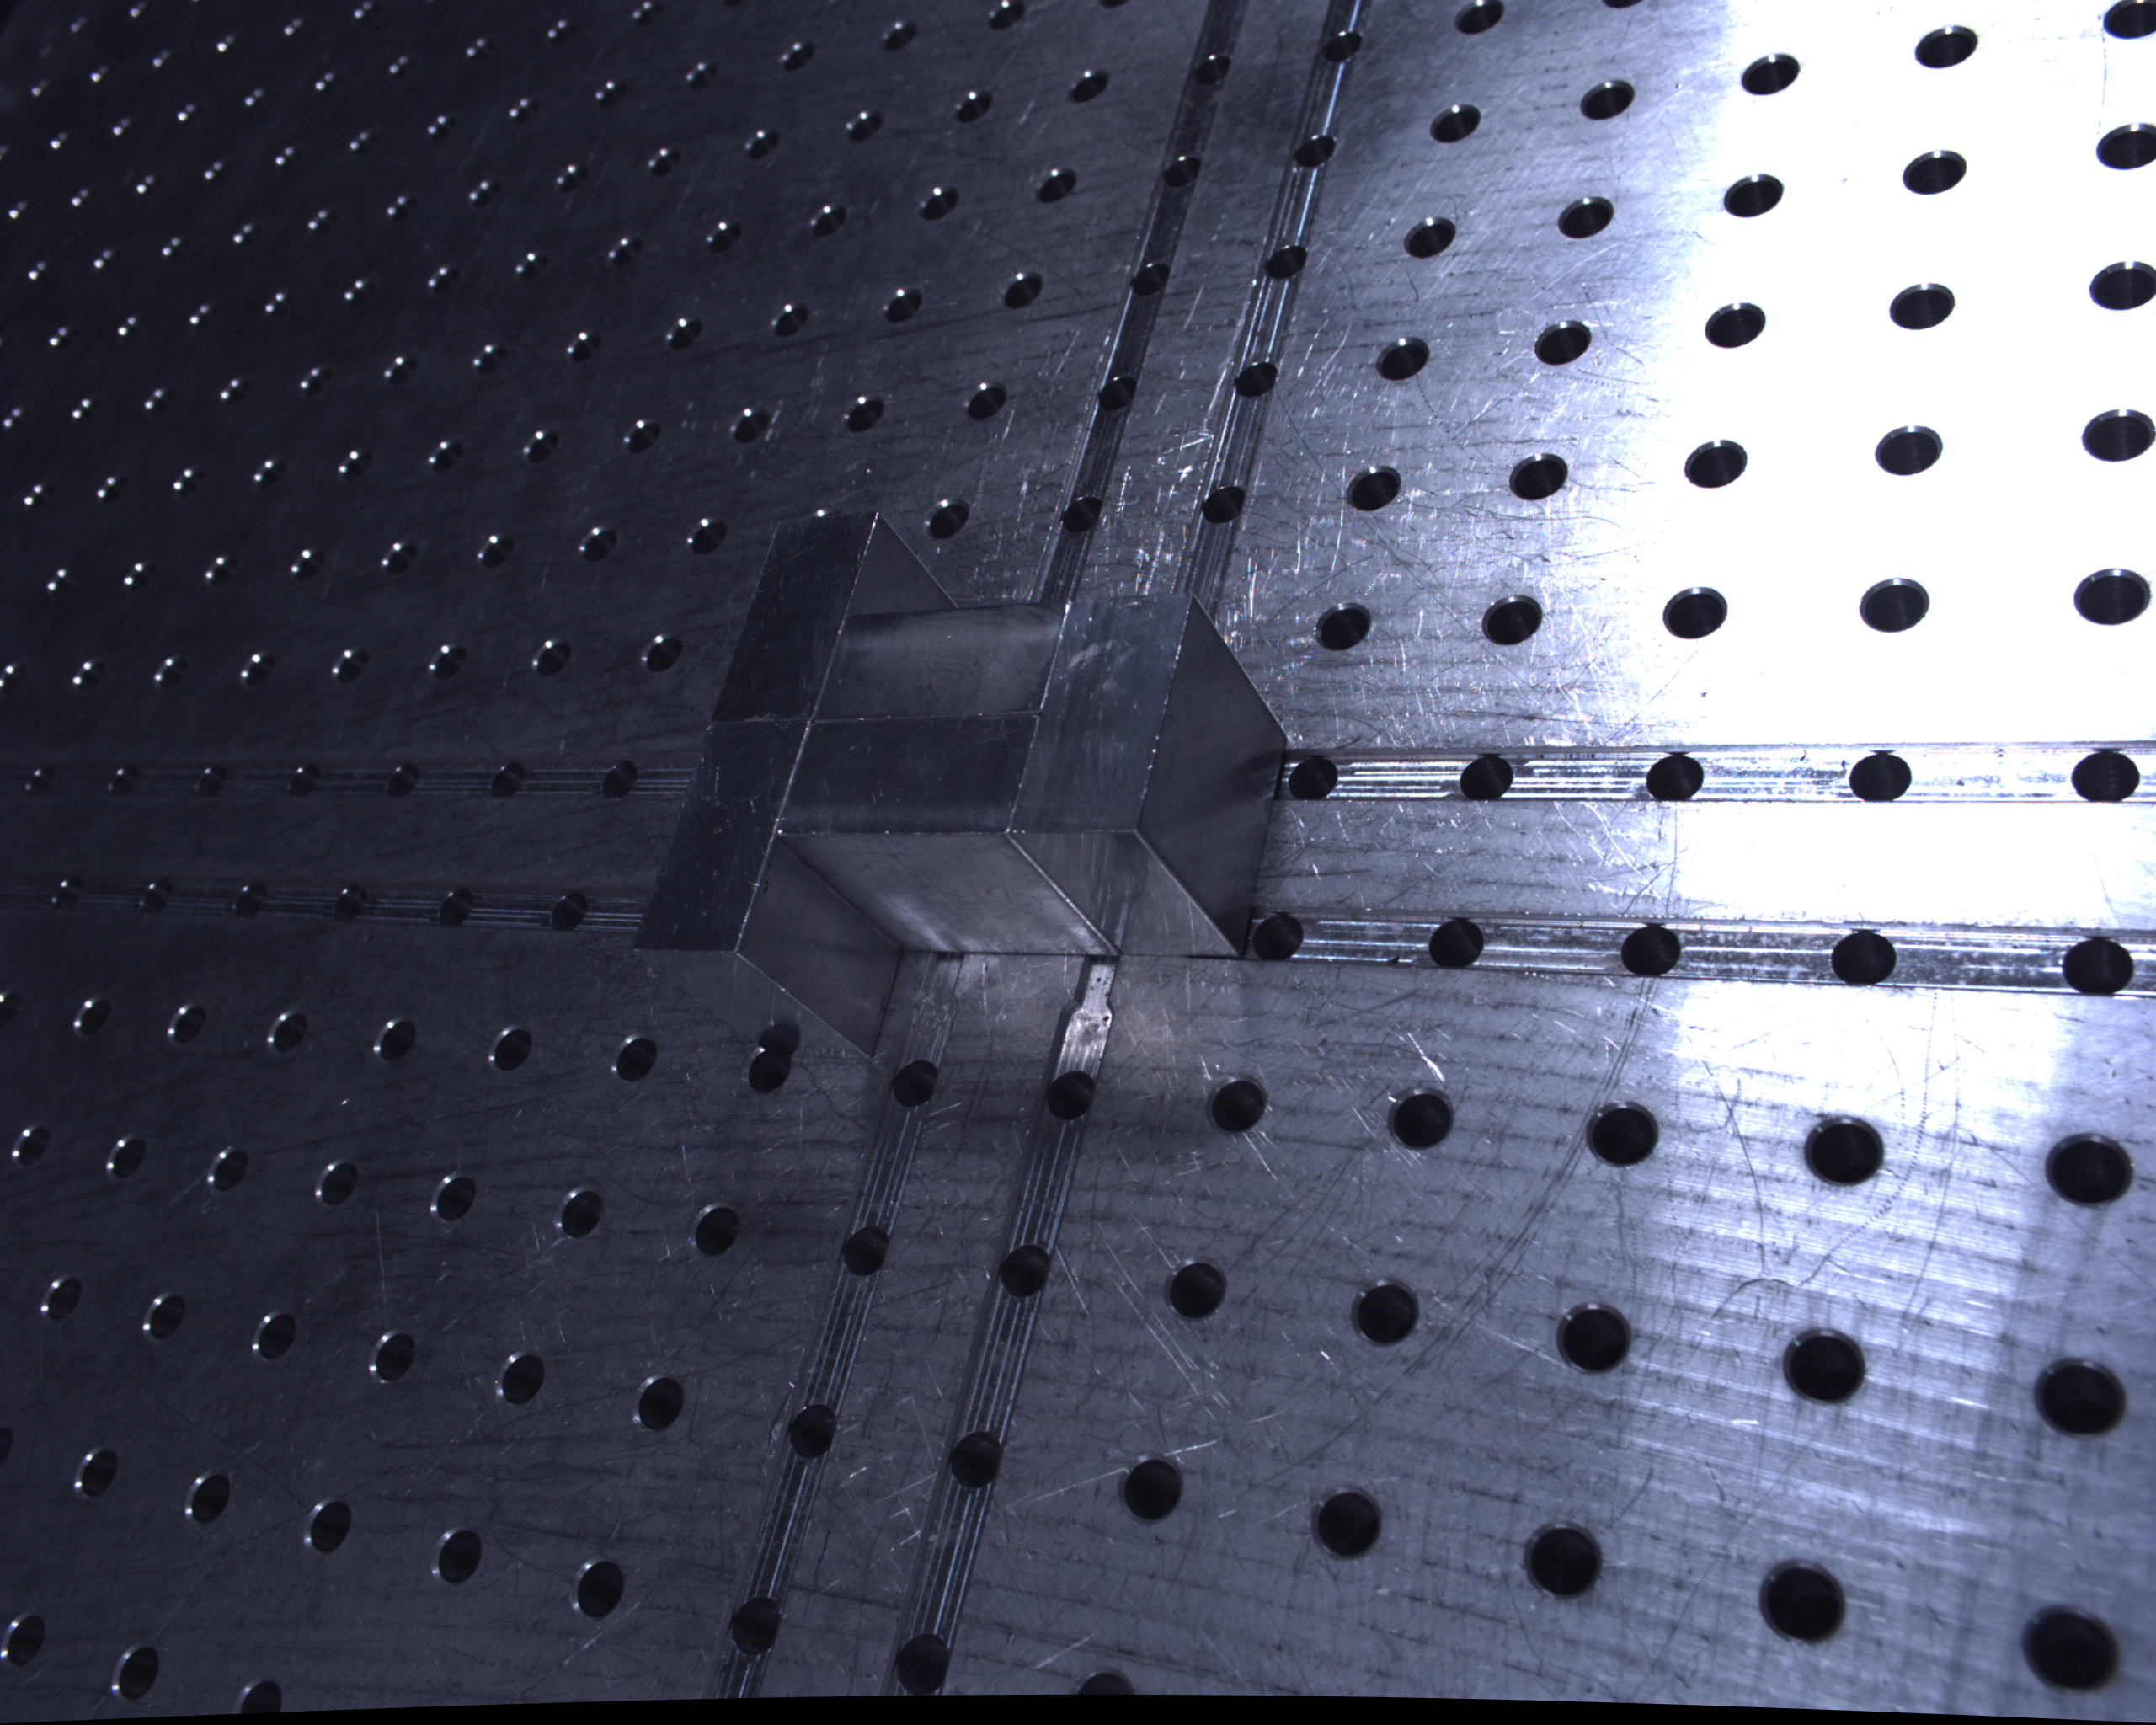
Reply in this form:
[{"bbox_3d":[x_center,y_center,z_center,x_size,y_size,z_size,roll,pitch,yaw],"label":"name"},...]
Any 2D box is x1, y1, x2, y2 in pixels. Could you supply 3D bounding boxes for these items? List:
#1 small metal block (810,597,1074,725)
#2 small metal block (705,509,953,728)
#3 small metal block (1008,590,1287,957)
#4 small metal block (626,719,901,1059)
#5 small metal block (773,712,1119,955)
[{"bbox_3d":[-0.016,-0.027,0.415,0.050,0.050,0.025,0,62,28],"label":"small metal block"},{"bbox_3d":[-0.047,-0.038,0.438,0.025,0.050,0.050,0,62,28],"label":"small metal block"},{"bbox_3d":[0.015,-0.016,0.392,0.025,0.050,0.050,0,62,28],"label":"small metal block"},{"bbox_3d":[-0.058,0.006,0.416,0.025,0.050,0.050,0,62,28],"label":"small metal block"},{"bbox_3d":[-0.022,-0.005,0.404,0.050,0.050,0.025,0,62,28],"label":"small metal block"}]
